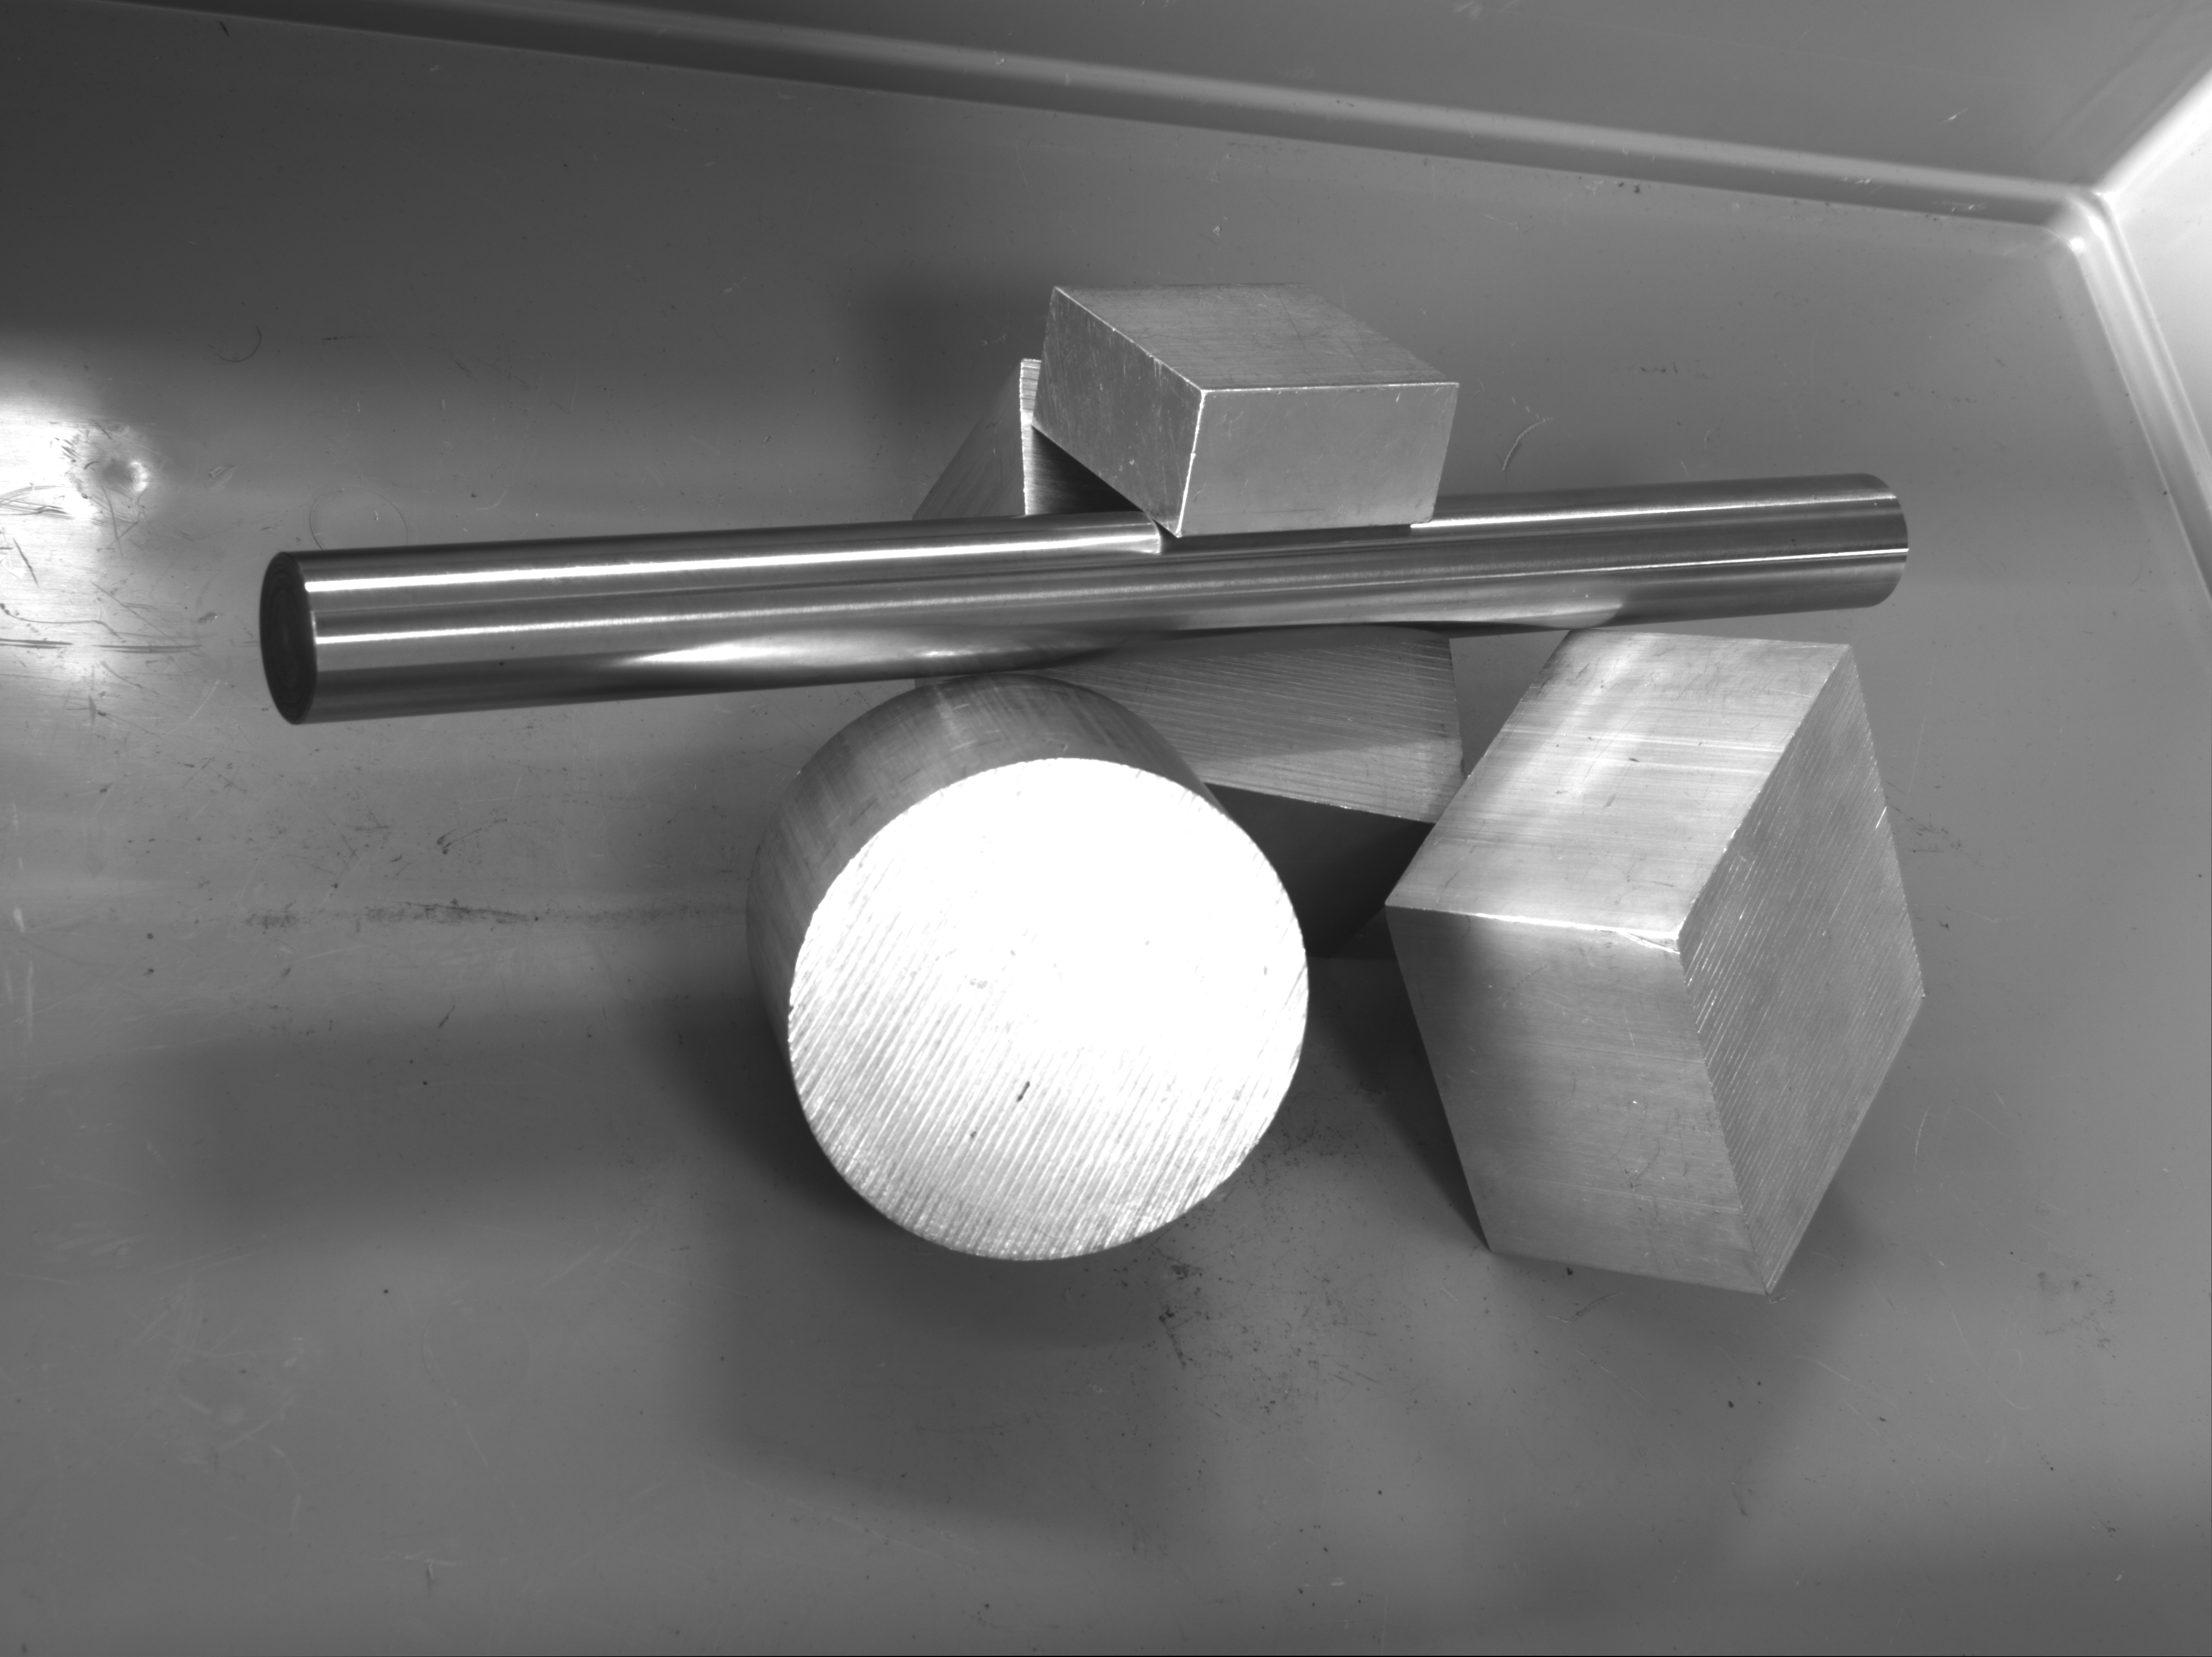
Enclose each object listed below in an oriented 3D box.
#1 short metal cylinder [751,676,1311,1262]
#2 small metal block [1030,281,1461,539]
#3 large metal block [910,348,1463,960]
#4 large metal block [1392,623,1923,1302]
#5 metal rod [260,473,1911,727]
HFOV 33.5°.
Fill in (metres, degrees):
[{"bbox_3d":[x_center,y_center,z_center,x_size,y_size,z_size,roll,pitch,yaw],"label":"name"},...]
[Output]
[{"bbox_3d":[-0.013,0.021,0.575,0.080,0.080,0.050,18,12,-18],"label":"short metal cylinder"},{"bbox_3d":[0.023,-0.071,0.614,0.050,0.025,0.050,-6,30,-30],"label":"small metal block"},{"bbox_3d":[0.013,-0.029,0.647,0.080,0.050,0.080,10,57,-22],"label":"large metal block"},{"bbox_3d":[0.098,0.021,0.634,0.080,0.050,0.080,-53,136,-39],"label":"large metal block"},{"bbox_3d":[0.011,-0.040,0.604,0.301,0.025,0.025,-6,64,-30],"label":"metal rod"}]
